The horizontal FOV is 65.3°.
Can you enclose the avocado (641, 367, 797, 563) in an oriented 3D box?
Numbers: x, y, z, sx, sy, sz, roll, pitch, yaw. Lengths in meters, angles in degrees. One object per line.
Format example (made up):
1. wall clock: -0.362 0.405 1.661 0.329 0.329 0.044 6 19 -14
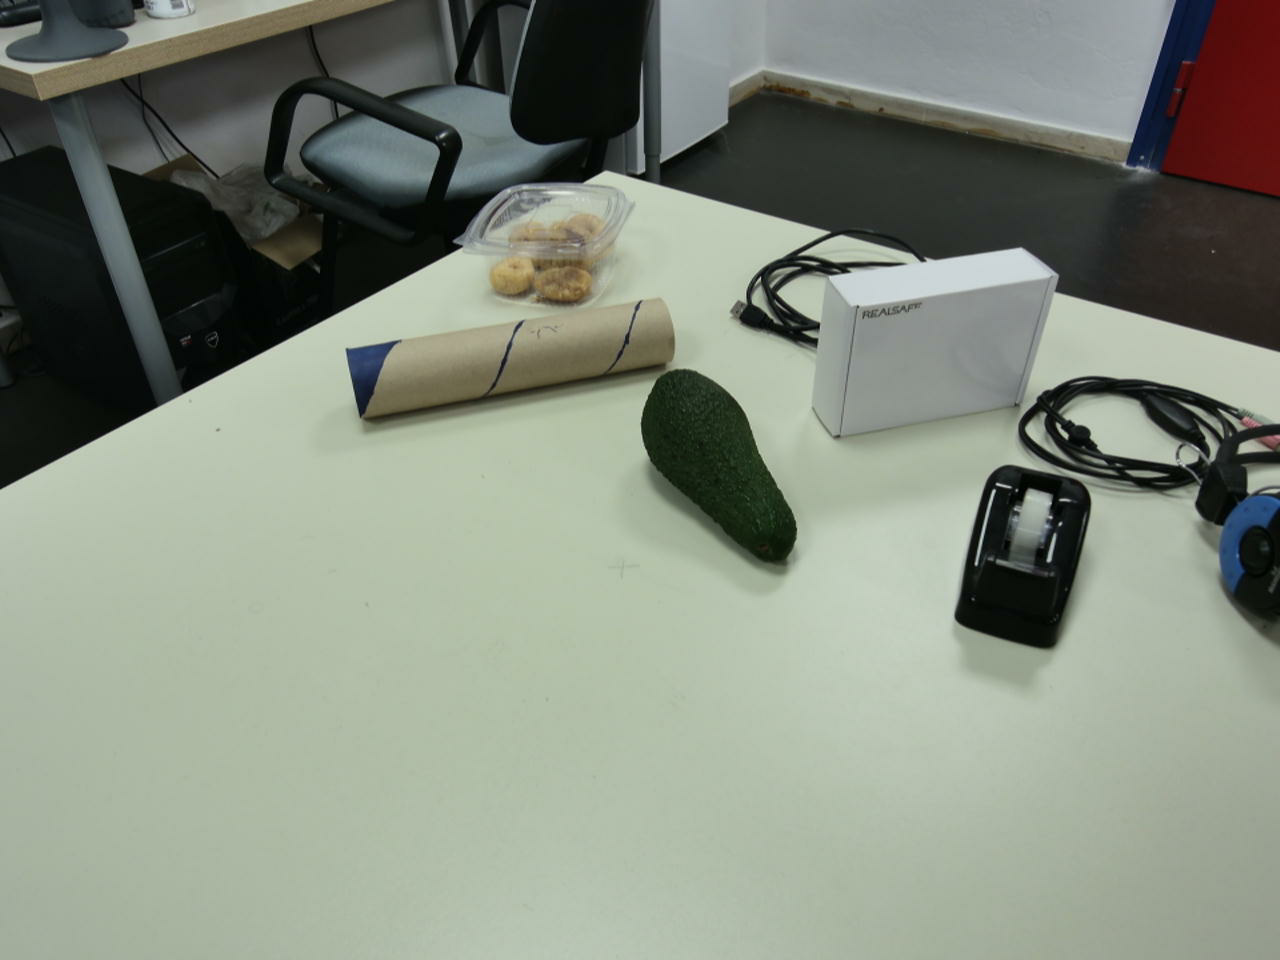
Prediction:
1. avocado: 0.051 -0.016 0.585 0.063 0.067 0.141 -25 44 -29
